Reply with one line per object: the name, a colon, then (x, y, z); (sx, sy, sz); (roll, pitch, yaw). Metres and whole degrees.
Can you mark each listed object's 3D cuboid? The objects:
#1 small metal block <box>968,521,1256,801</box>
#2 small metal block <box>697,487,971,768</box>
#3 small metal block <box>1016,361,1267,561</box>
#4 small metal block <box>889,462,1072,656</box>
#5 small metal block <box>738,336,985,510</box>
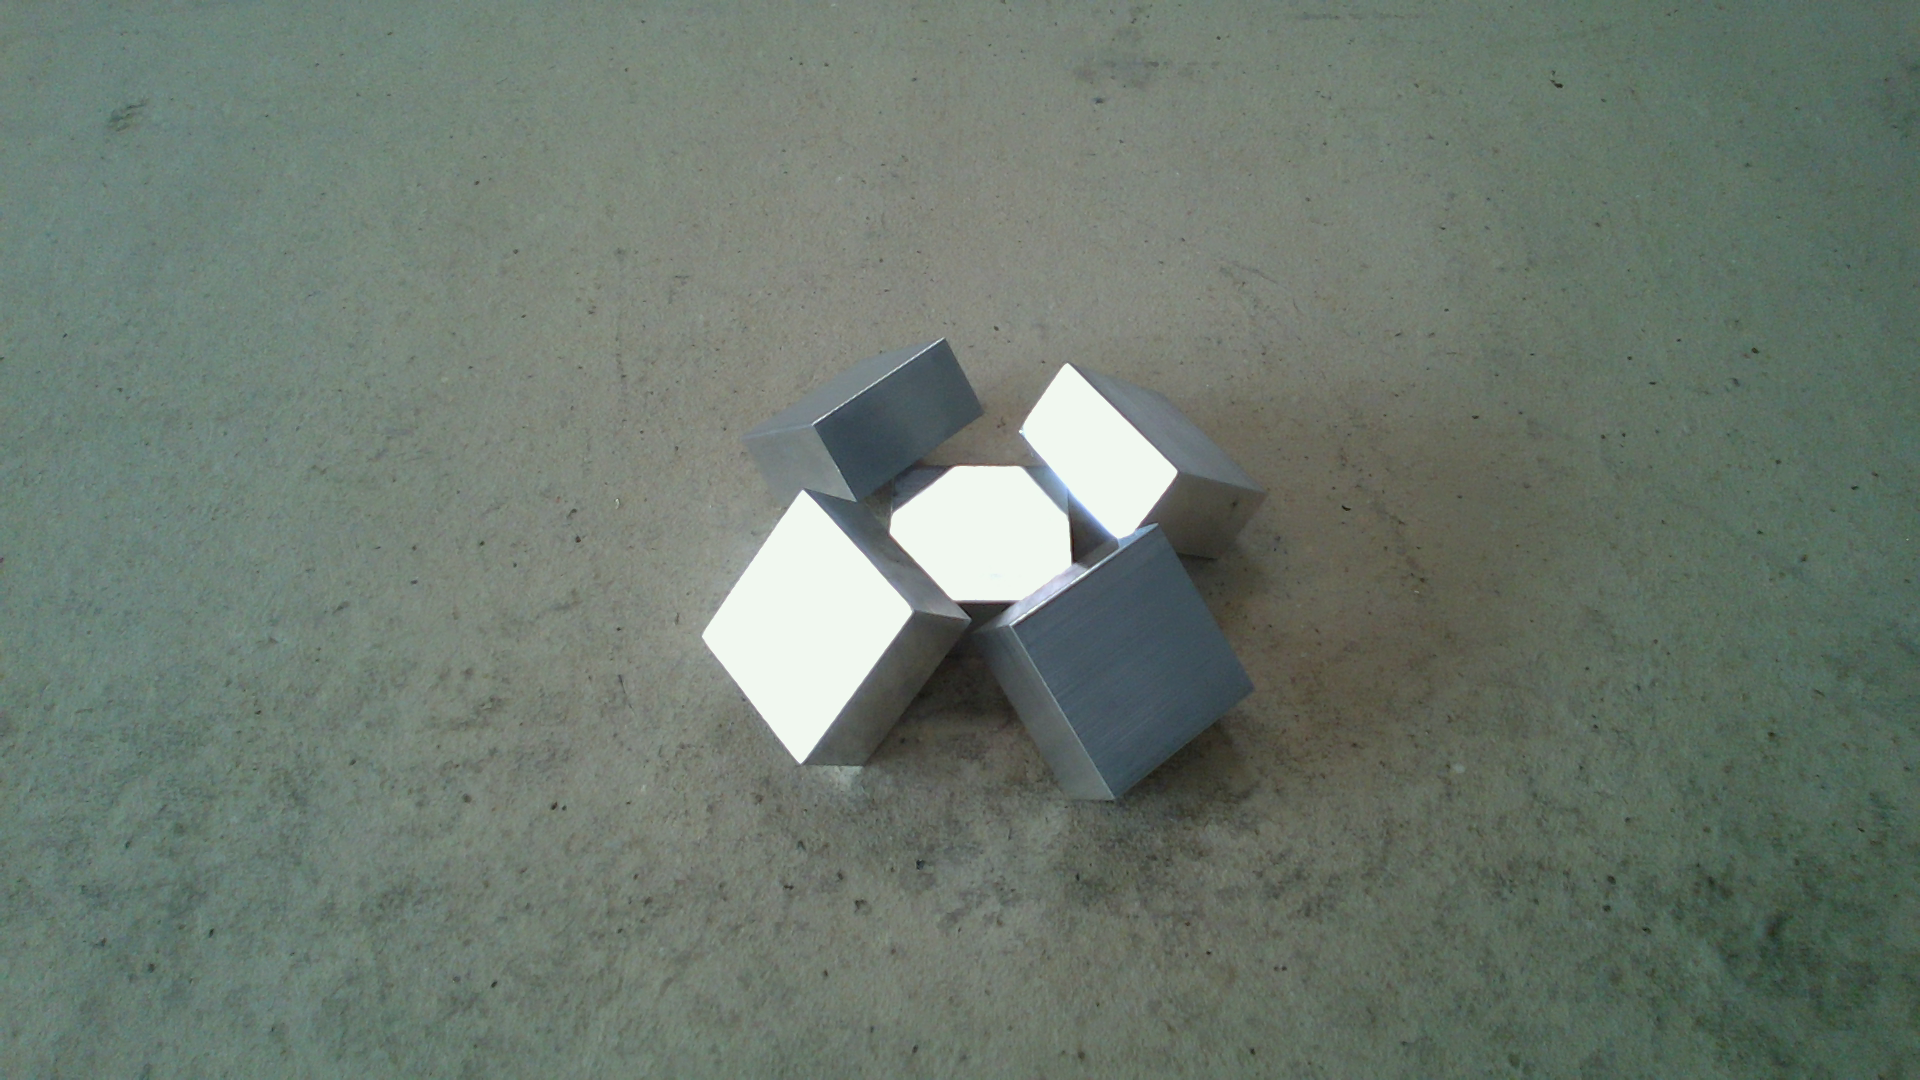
small metal block: (0.039, 0.031, 0.350); (0.050, 0.025, 0.050); (-33, 95, -24)
small metal block: (-0.033, 0.023, 0.355); (0.050, 0.025, 0.050); (45, 107, 31)
small metal block: (0.052, -0.022, 0.395); (0.050, 0.025, 0.050); (9, 34, -50)
small metal block: (0.005, 0.005, 0.388); (0.050, 0.025, 0.050); (1, 50, -1)
small metal block: (-0.030, -0.033, 0.404); (0.050, 0.025, 0.050); (-37, 17, -27)
